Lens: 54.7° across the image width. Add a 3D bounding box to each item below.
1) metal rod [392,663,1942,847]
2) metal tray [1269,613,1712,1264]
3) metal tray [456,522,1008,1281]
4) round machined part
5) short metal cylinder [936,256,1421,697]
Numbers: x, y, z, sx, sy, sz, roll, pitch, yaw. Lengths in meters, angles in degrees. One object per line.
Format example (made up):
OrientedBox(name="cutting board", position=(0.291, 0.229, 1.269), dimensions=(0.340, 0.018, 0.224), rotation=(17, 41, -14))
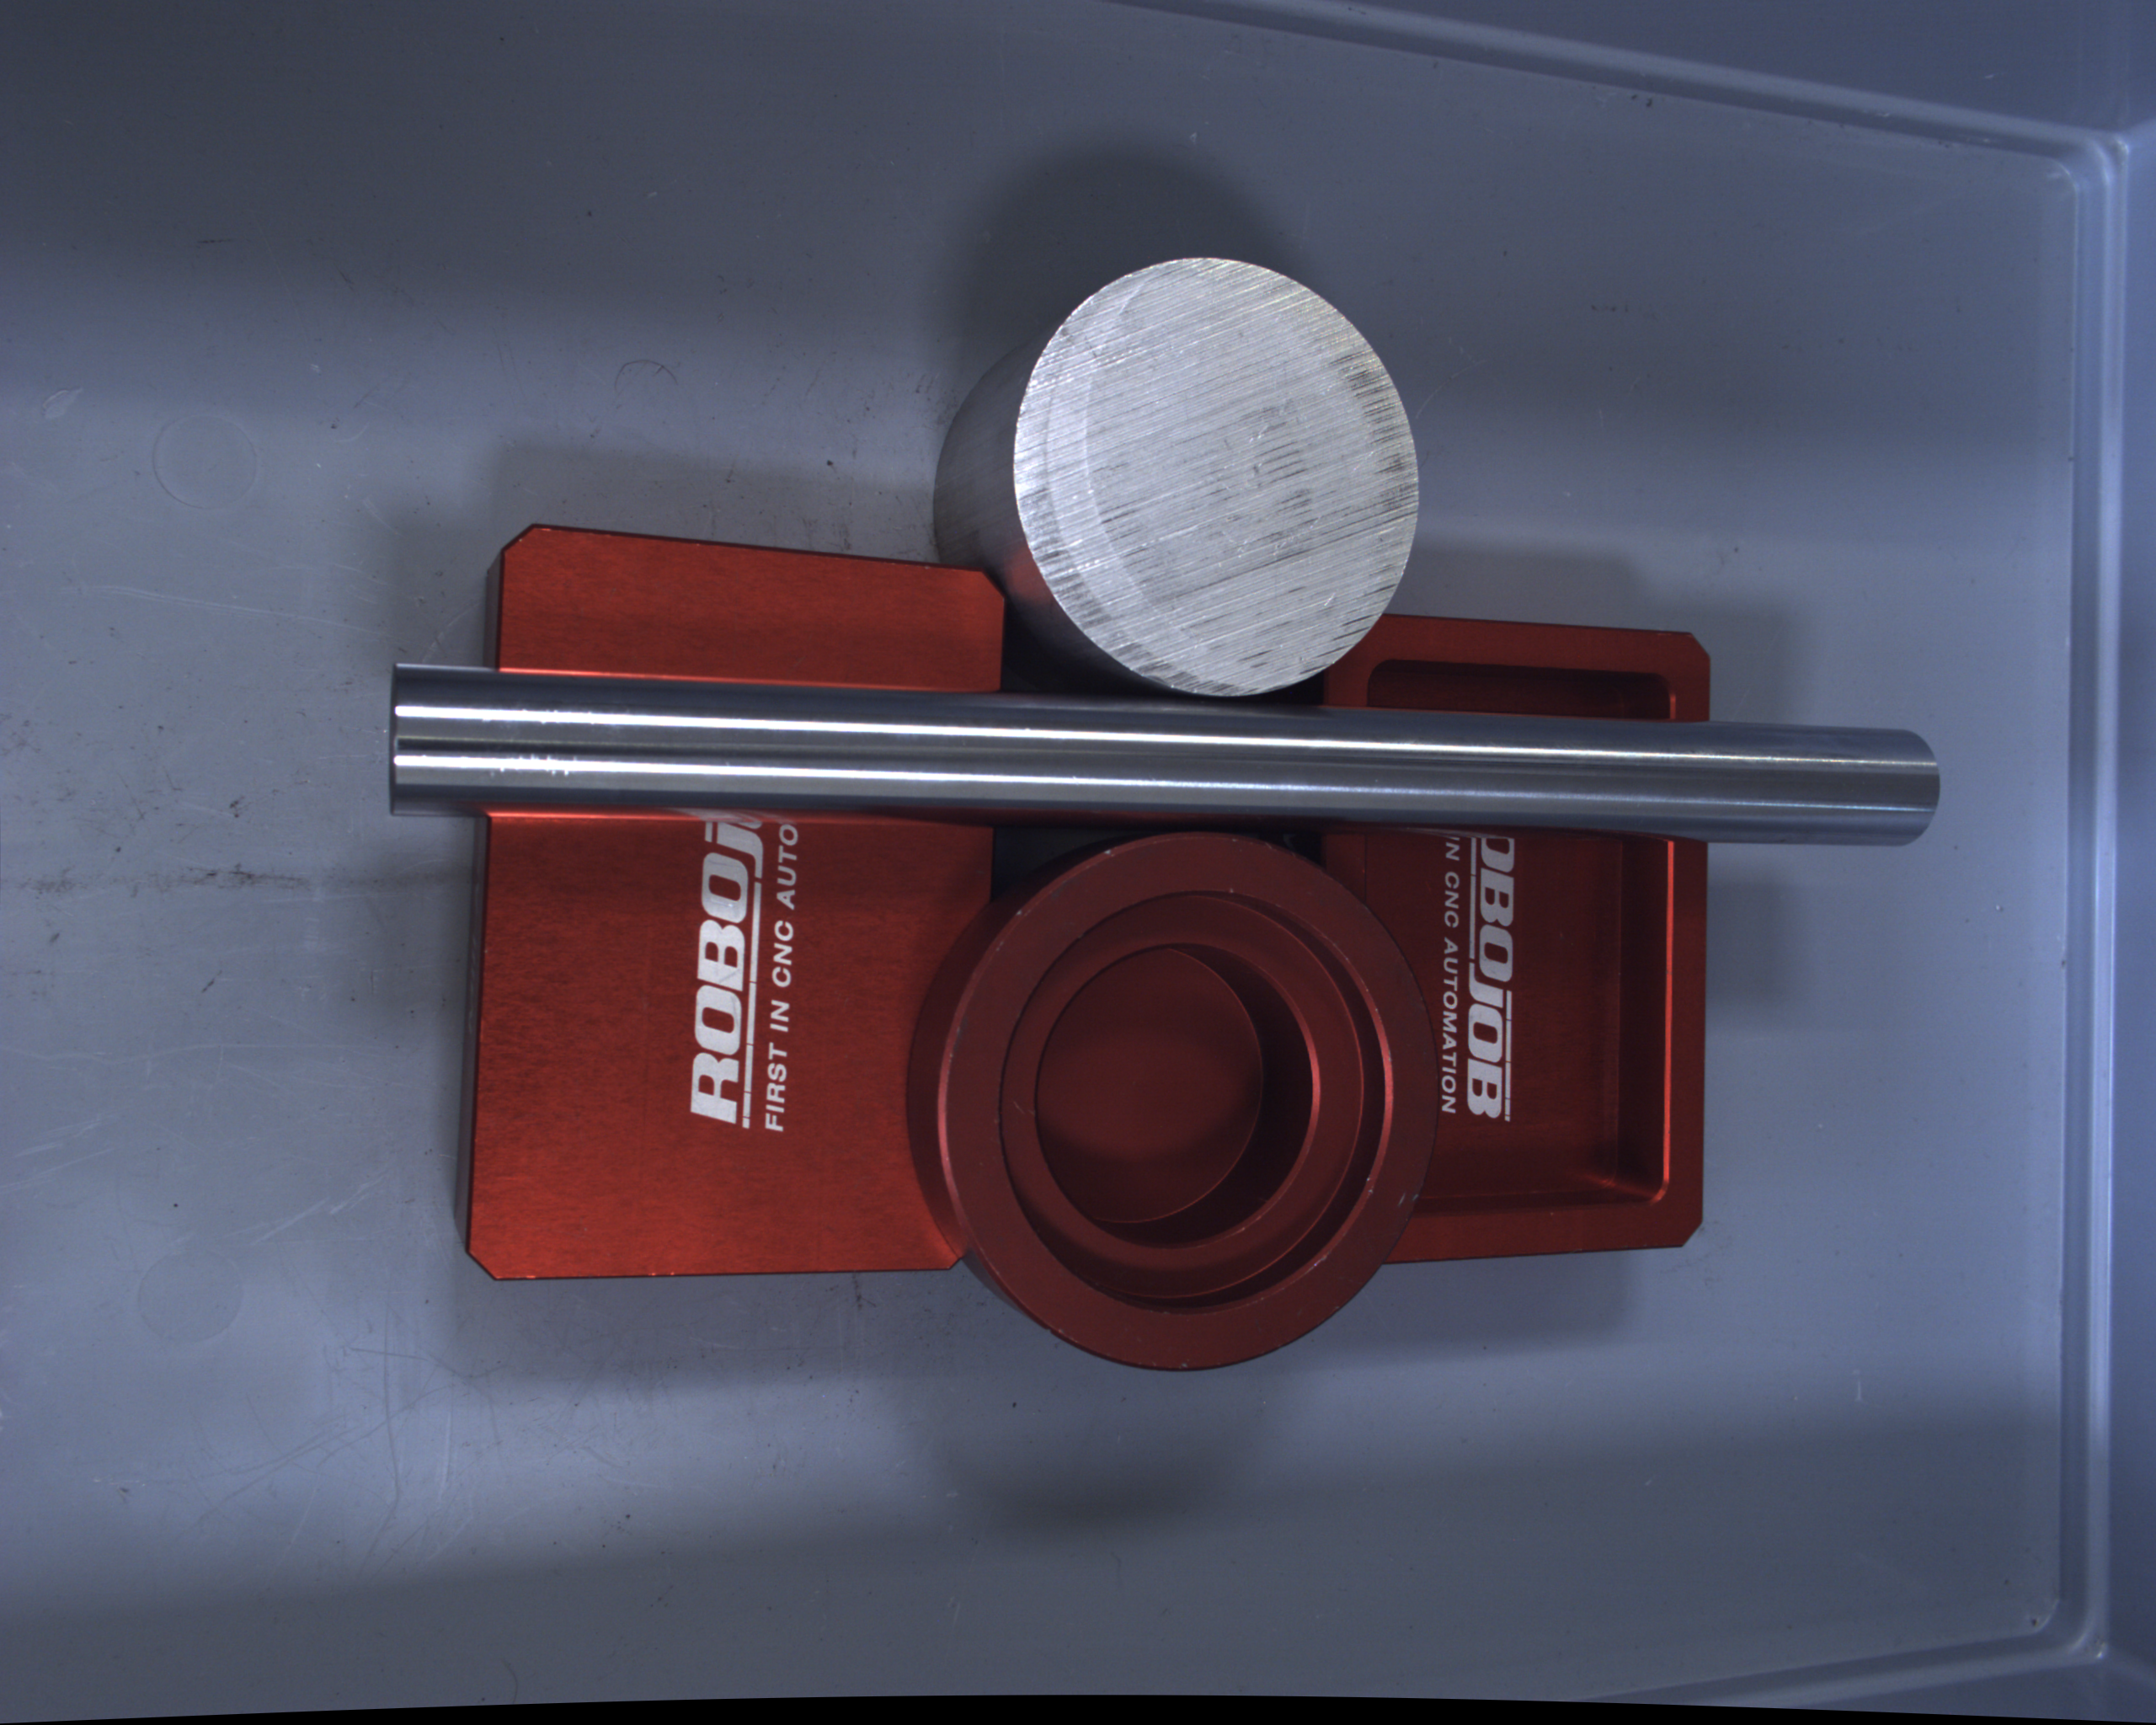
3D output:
OrientedBox(name="metal rod", position=(0.032, -0.018, 0.388), dimensions=(0.303, 0.025, 0.025), rotation=(1, 90, -20))
OrientedBox(name="metal tray", position=(0.086, 0.016, 0.437), dimensions=(0.091, 0.030, 0.129), rotation=(1, 90, -20))
OrientedBox(name="metal tray", position=(-0.063, 0.008, 0.382), dimensions=(0.091, 0.030, 0.129), rotation=(3, 89, -20))
OrientedBox(name="round machined part", position=(0.015, 0.043, 0.396), dimensions=(0.099, 0.042, 0.097), rotation=(0, 90, -20))
OrientedBox(name="short metal cylinder", position=(0.018, -0.070, 0.402), dimensions=(0.081, 0.050, 0.079), rotation=(0, 90, -20))
